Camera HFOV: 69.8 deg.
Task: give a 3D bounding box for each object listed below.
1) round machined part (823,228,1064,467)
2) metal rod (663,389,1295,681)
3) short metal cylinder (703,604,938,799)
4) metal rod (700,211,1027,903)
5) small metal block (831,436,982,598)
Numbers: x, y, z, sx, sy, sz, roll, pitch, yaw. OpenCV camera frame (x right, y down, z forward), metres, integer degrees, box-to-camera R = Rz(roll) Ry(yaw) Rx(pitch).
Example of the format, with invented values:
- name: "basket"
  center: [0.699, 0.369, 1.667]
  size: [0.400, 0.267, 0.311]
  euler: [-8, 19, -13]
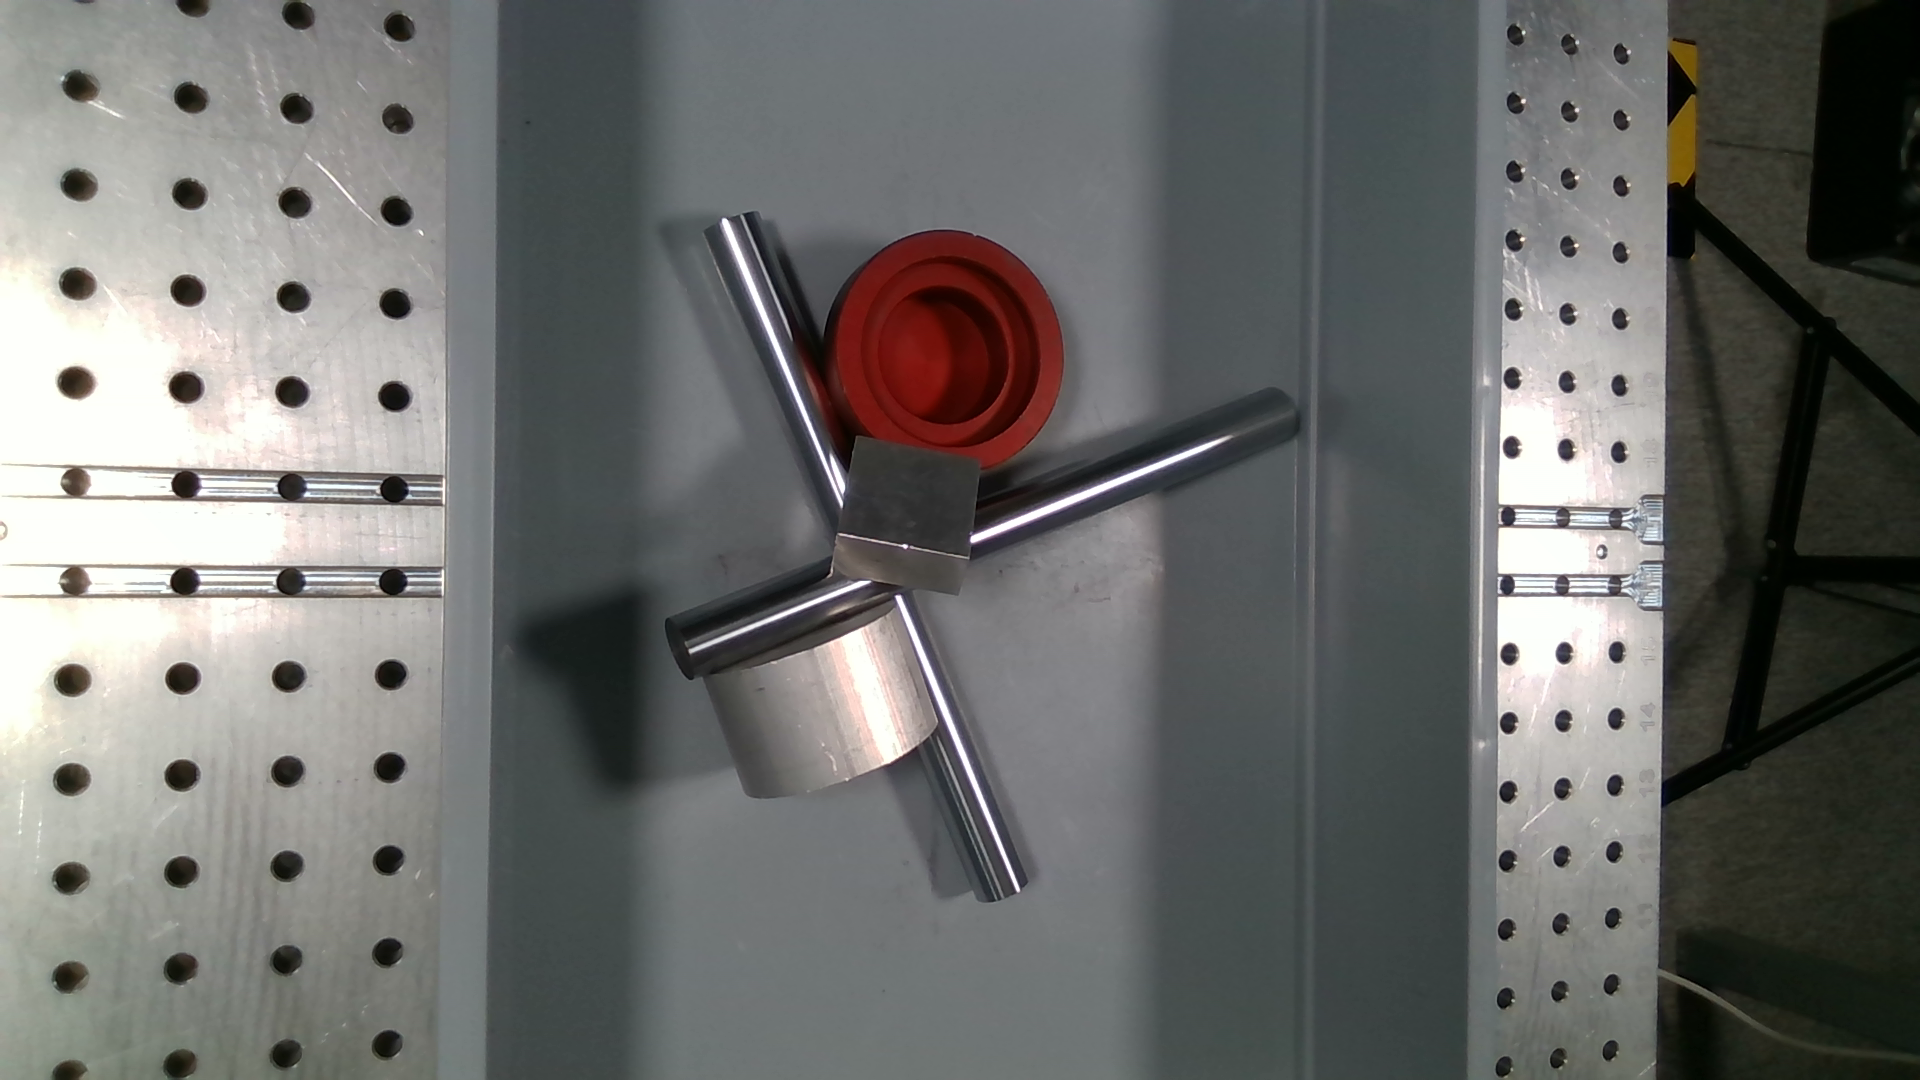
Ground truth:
- name: "round machined part"
  center: [-0.010, -0.076, 0.572]
  size: [0.098, 0.042, 0.098]
  euler: [0, 90, -20]
- name: "metal rod"
  center: [0.021, -0.009, 0.574]
  size: [0.300, 0.025, 0.025]
  euler: [-21, 97, -26]
- name: "short metal cylinder"
  center: [-0.054, 0.061, 0.536]
  size: [0.080, 0.080, 0.050]
  euler: [-21, 97, -19]
- name: "metal rod"
  center: [-0.038, 0.011, 0.571]
  size: [0.025, 0.025, 0.300]
  euler: [-24, 98, -19]
- name: "small metal block"
  center: [-0.020, -0.009, 0.534]
  size: [0.050, 0.025, 0.050]
  euler: [10, 52, -4]
